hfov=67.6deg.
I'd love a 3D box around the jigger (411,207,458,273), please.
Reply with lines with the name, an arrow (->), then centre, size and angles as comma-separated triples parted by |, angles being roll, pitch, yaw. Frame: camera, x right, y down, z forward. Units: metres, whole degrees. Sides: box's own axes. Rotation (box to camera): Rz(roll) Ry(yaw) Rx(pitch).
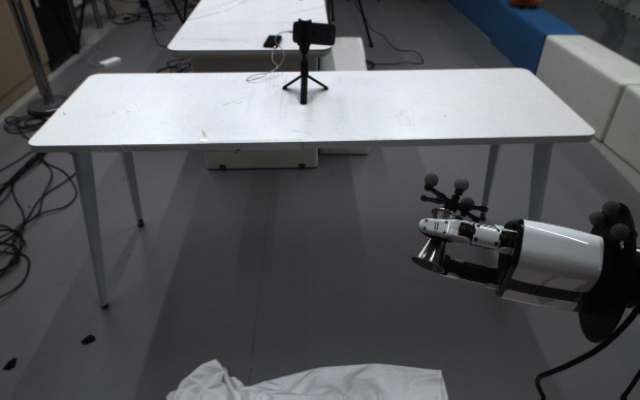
jigger -> 0.141, 0.046, 0.582 | 0.043, 0.043, 0.071 | 20, 73, 24
